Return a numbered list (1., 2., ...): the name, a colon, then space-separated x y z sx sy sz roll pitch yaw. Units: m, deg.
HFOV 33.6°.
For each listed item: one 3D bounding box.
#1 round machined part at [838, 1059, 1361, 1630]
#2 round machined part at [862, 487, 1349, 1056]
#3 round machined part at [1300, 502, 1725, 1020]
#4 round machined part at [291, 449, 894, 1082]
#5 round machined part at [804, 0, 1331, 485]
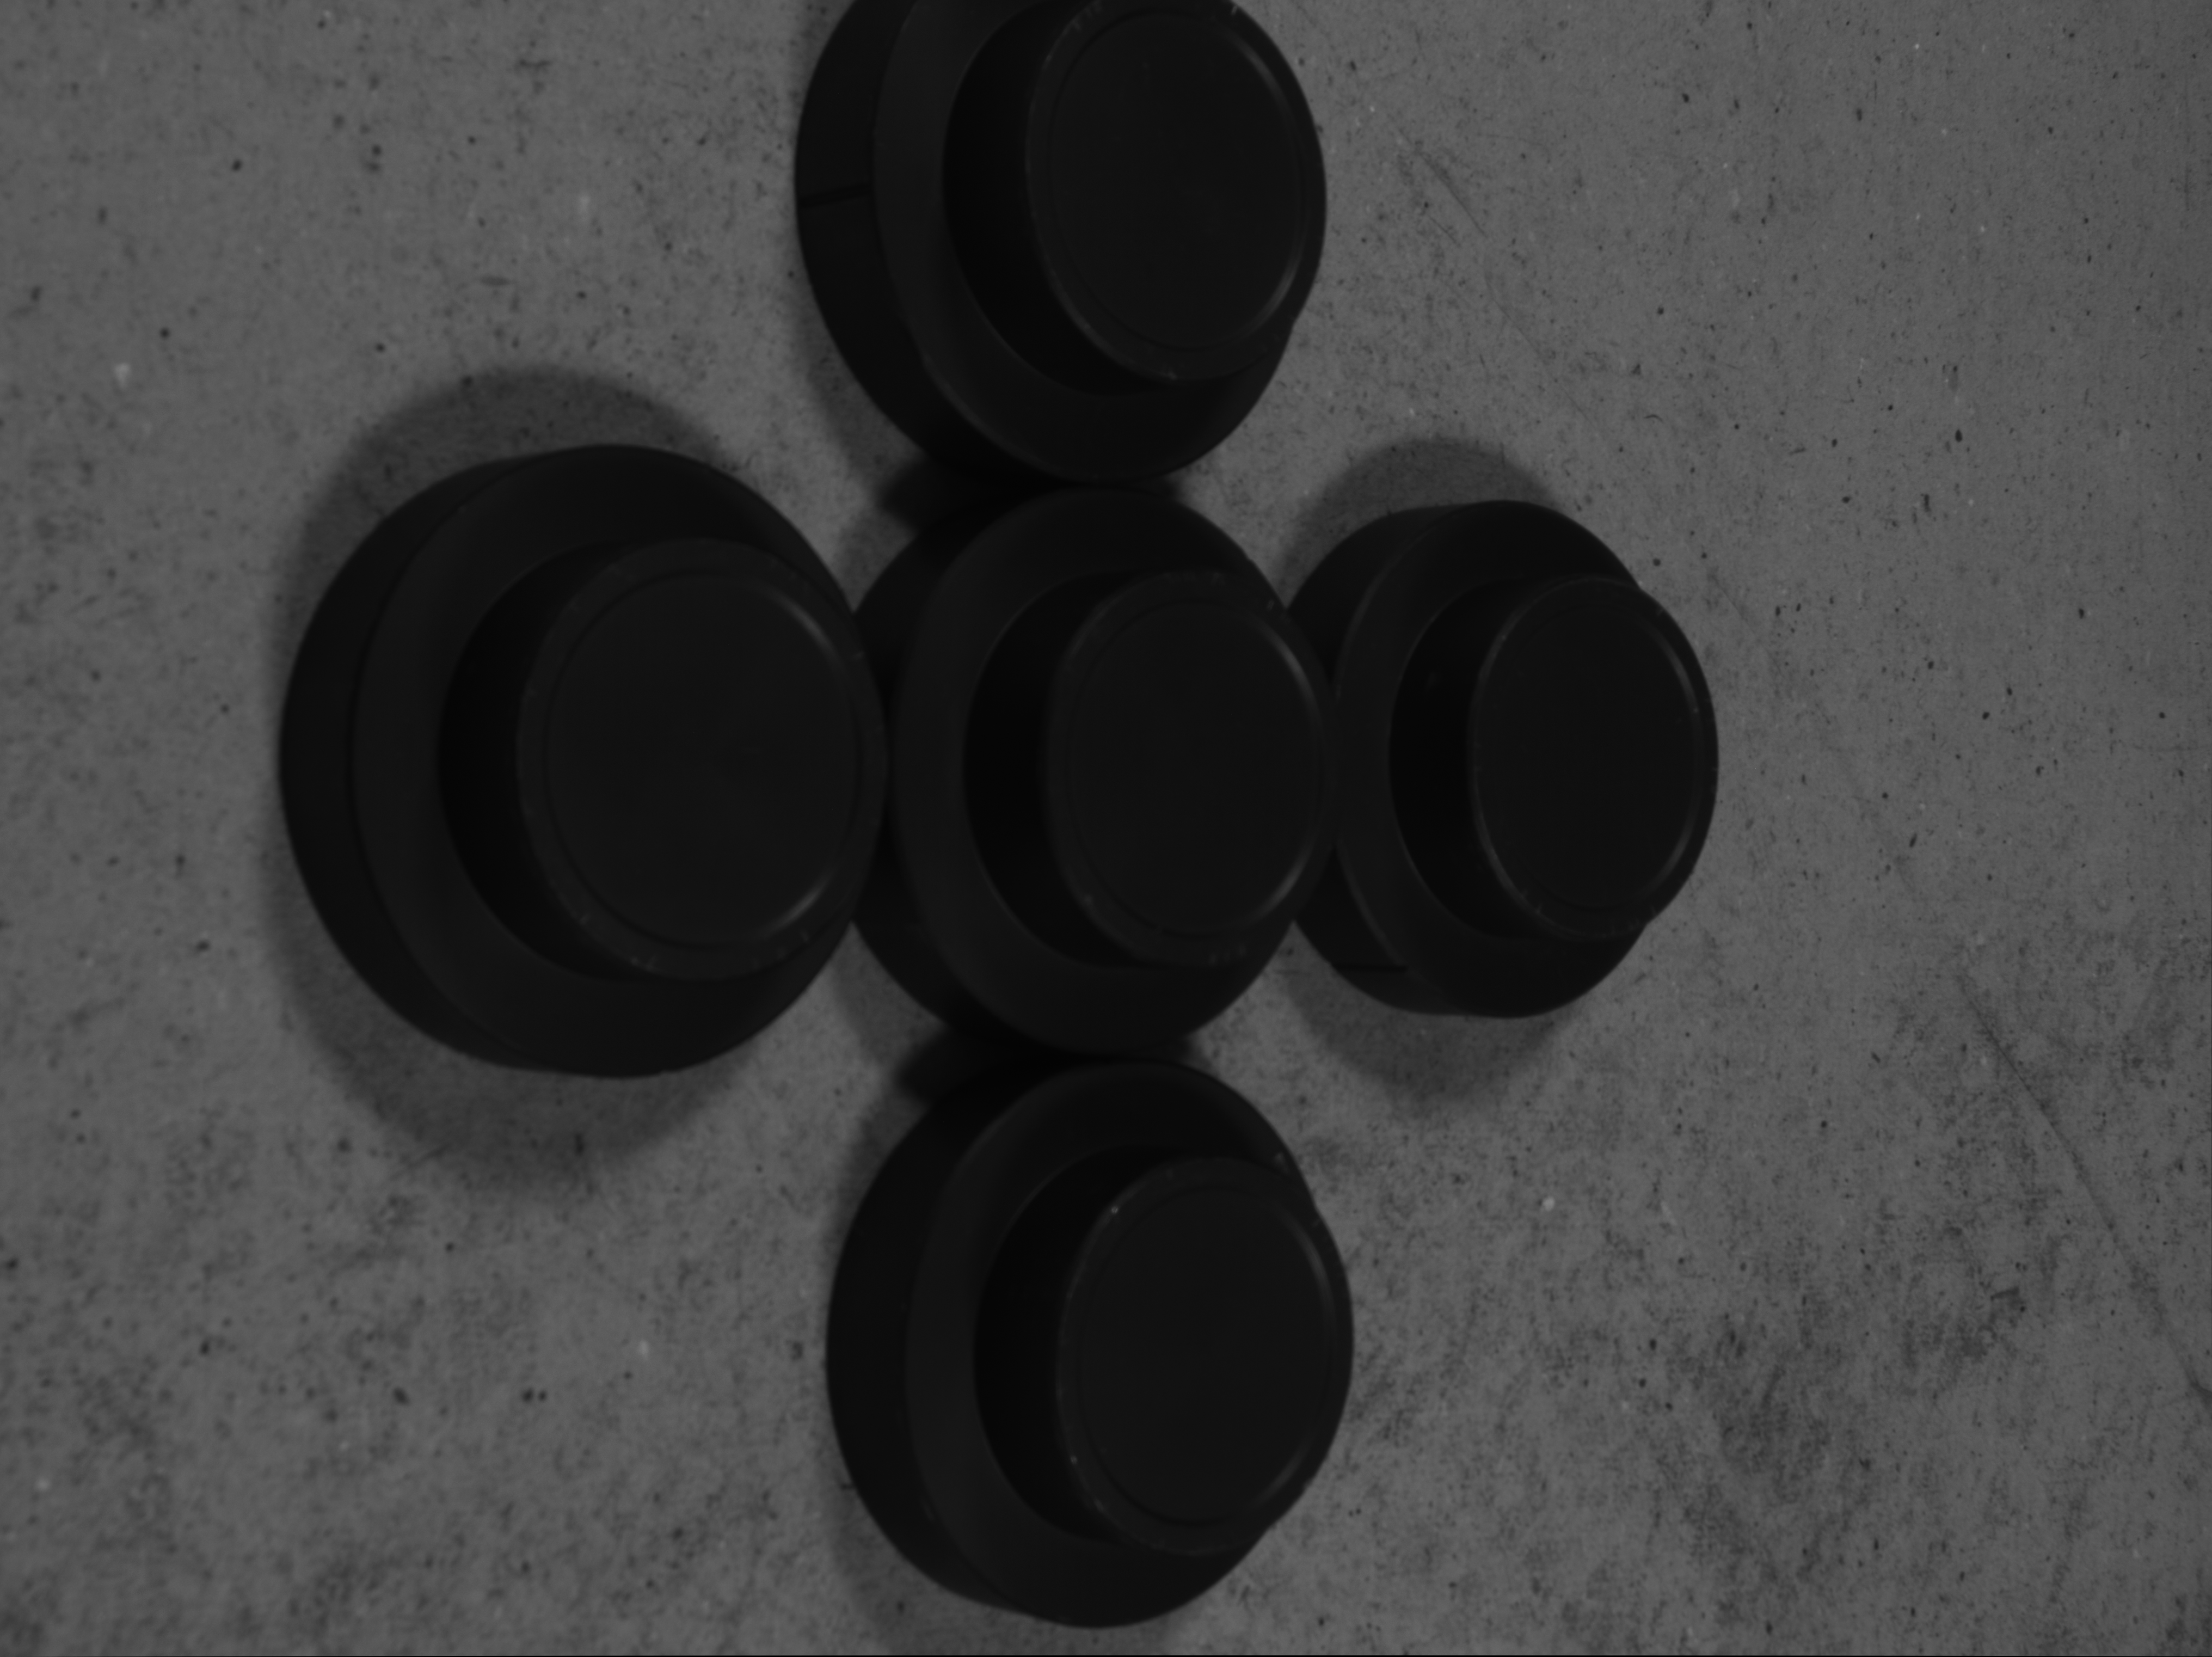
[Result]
1. round machined part: 0.005 0.089 0.630 0.098 0.042 0.098 0 90 -40
2. round machined part: 0.003 -0.010 0.629 0.098 0.042 0.098 0 90 -40
3. round machined part: 0.079 -0.013 0.693 0.098 0.042 0.098 0 90 -40
4. round machined part: -0.072 -0.010 0.566 0.098 0.042 0.098 0 90 -40
5. round machined part: 0.000 -0.108 0.627 0.098 0.042 0.098 0 90 -40
